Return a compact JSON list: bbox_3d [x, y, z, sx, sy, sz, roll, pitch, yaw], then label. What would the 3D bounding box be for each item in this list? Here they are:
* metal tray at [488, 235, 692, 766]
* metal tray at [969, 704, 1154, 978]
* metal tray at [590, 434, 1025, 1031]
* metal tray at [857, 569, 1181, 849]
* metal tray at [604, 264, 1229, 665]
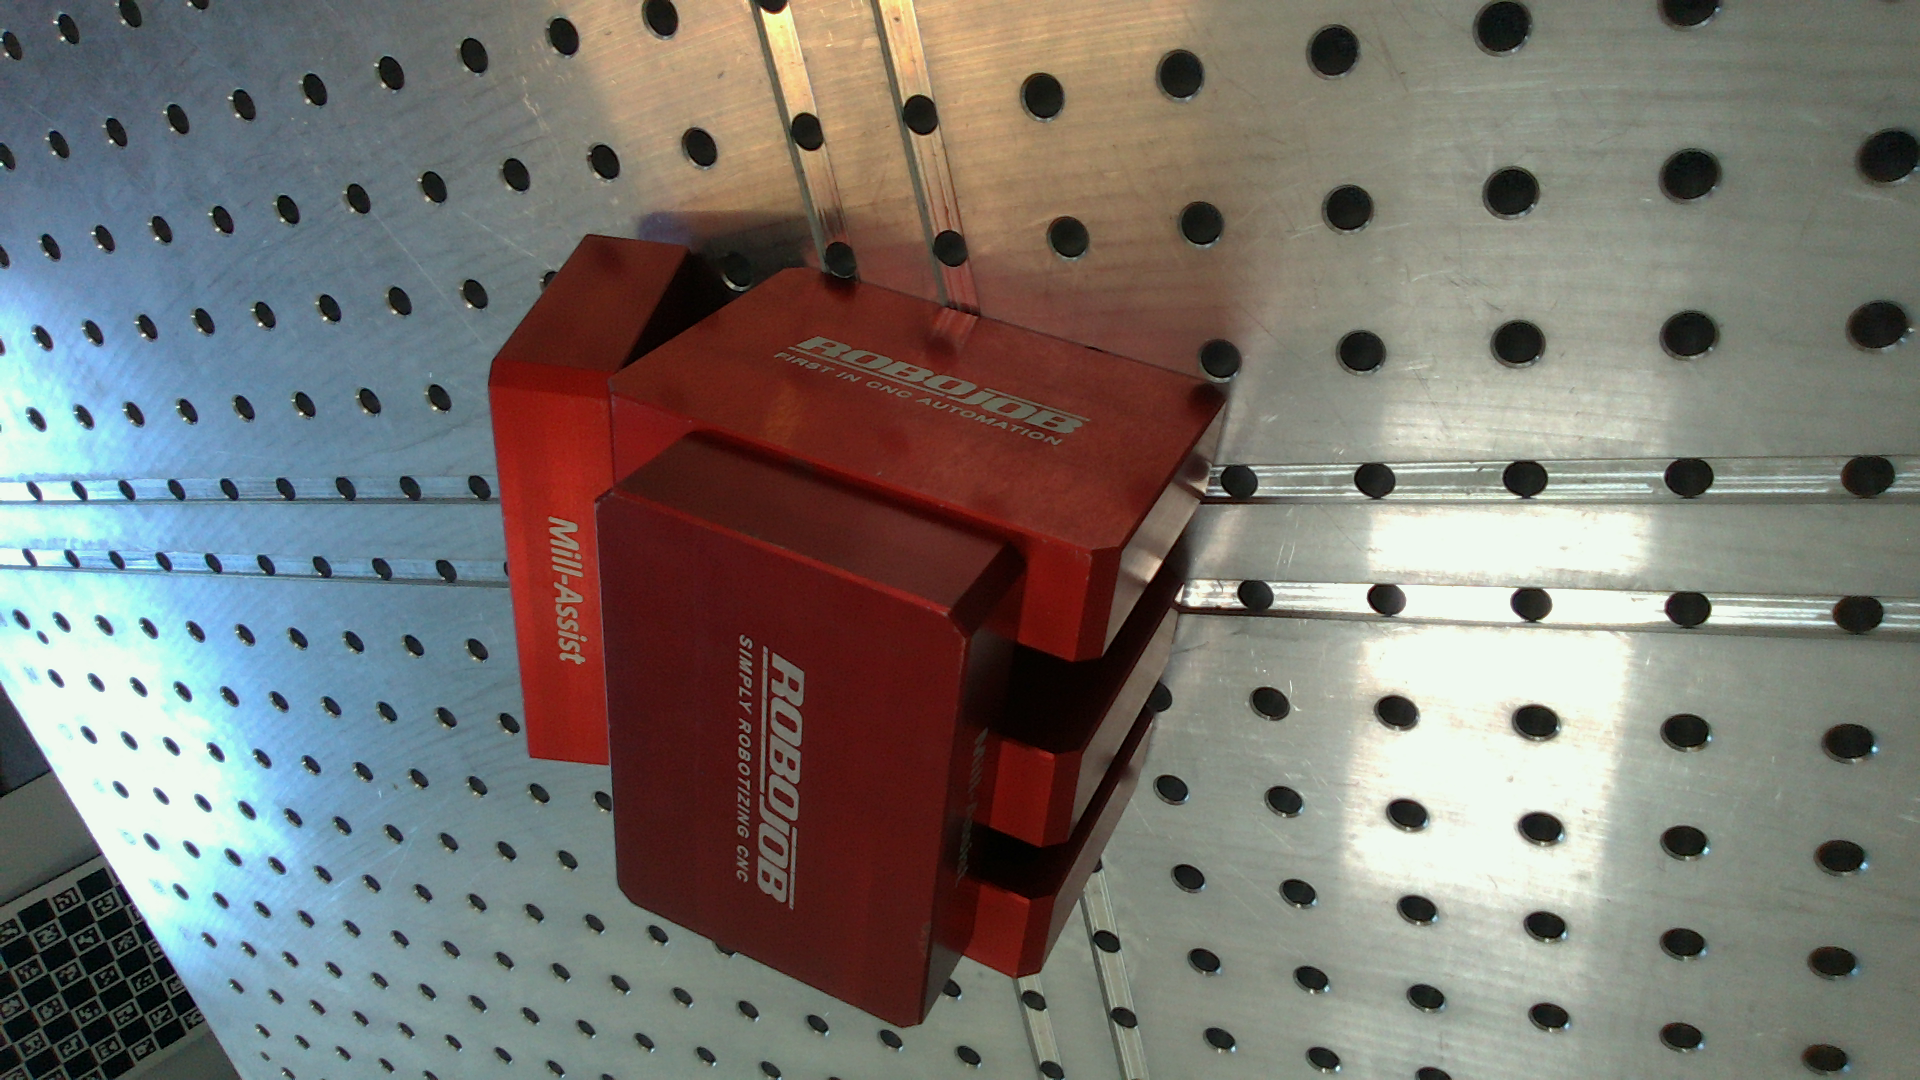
[{"bbox_3d":[-0.101,-0.010,0.398,0.030,0.090,0.130,6,124,-1],"label":"metal tray"},{"bbox_3d":[-0.020,0.062,0.402,0.130,0.090,0.030,19,126,17],"label":"metal tray"},{"bbox_3d":[-0.039,0.049,0.326,0.090,0.030,0.130,19,126,17],"label":"metal tray"},{"bbox_3d":[-0.015,0.024,0.376,0.130,0.090,0.030,18,124,17],"label":"metal tray"},{"bbox_3d":[-0.009,-0.025,0.342,0.130,0.090,0.030,19,126,17],"label":"metal tray"}]
